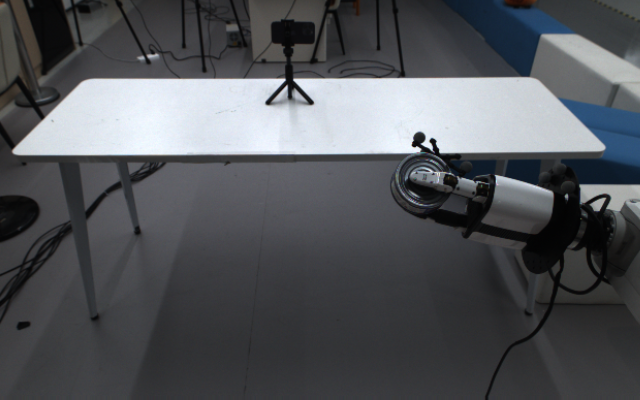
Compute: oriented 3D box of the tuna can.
[{"bbox_3d":[0.150,-0.017,0.694,0.085,0.034,0.085,0,74,0],"label":"tuna can"}]
